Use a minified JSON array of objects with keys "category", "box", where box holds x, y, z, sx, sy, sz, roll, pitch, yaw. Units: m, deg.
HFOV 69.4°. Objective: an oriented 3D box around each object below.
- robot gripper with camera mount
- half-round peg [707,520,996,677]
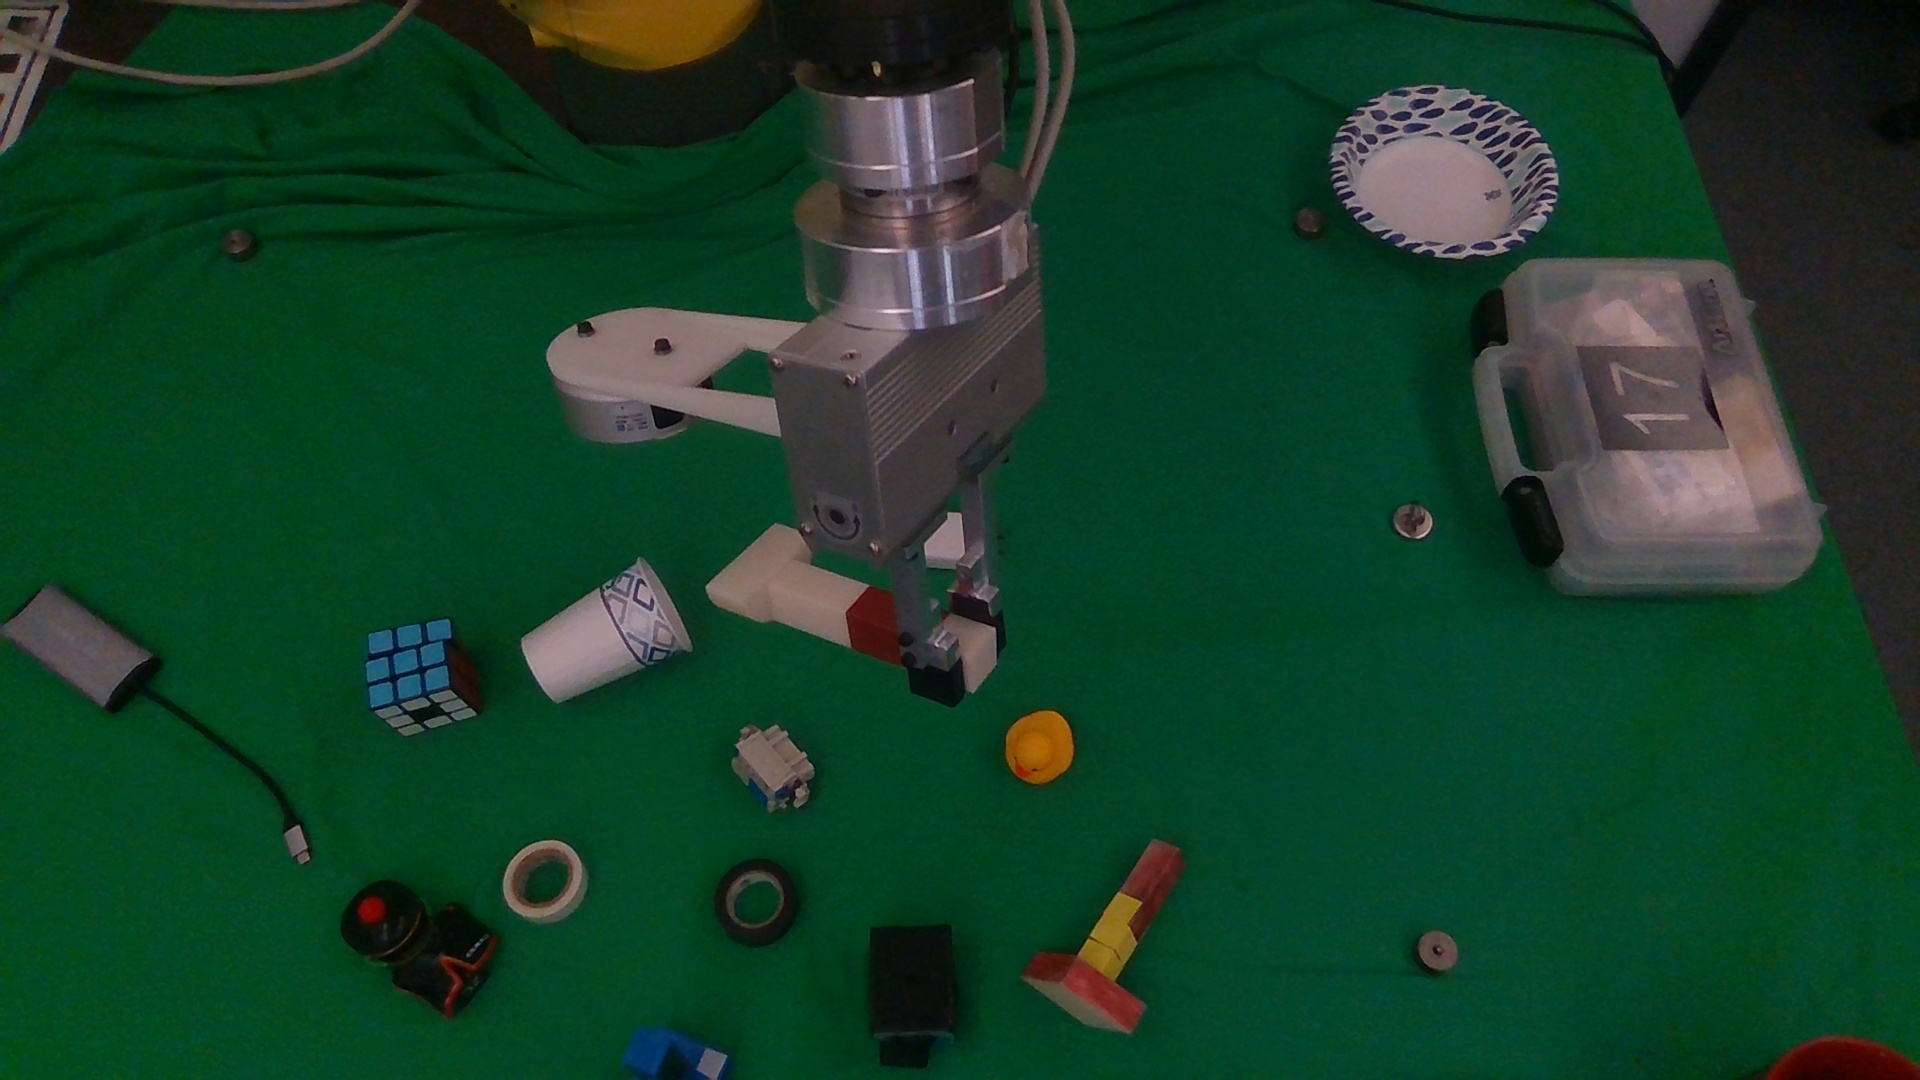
[{"category":"robot gripper with camera mount","box":[-0.076,-0.026,0.556,0.194,0.158,0.118,12,39,27]},{"category":"half-round peg","box":[-0.043,0.029,0.582,0.122,0.031,0.054,16,41,26]}]
